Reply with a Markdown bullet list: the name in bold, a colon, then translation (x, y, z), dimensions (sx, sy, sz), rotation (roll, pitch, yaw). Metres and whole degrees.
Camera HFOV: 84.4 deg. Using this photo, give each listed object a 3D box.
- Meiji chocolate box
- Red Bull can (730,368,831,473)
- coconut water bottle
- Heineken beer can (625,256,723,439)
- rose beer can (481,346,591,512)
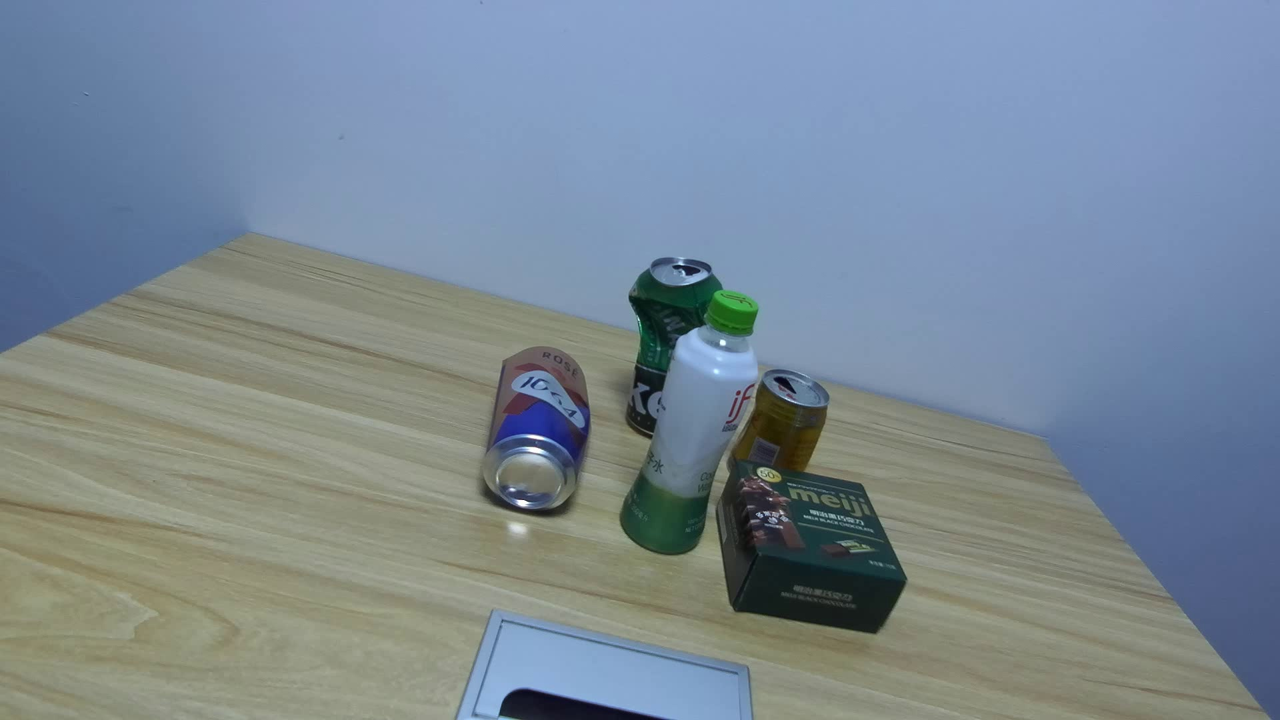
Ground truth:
- **Meiji chocolate box**: translation (0.119, 0.133, 0.515), dimensions (0.110, 0.056, 0.109), rotation (13, 26, -8)
- **Red Bull can**: translation (0.118, 0.061, 0.608), dimensions (0.069, 0.092, 0.069), rotation (13, 27, -6)
- **coconut water bottle**: translation (0.039, 0.044, 0.487), dimensions (0.063, 0.188, 0.063), rotation (13, 26, -6)
- **Heineken beer can**: translation (0.034, -0.007, 0.627), dimensions (0.079, 0.159, 0.067), rotation (-2, 26, -21)
- **rose beer can**: translation (-0.078, 0.046, 0.564), dimensions (0.070, 0.069, 0.167), rotation (-6, 26, 1)
